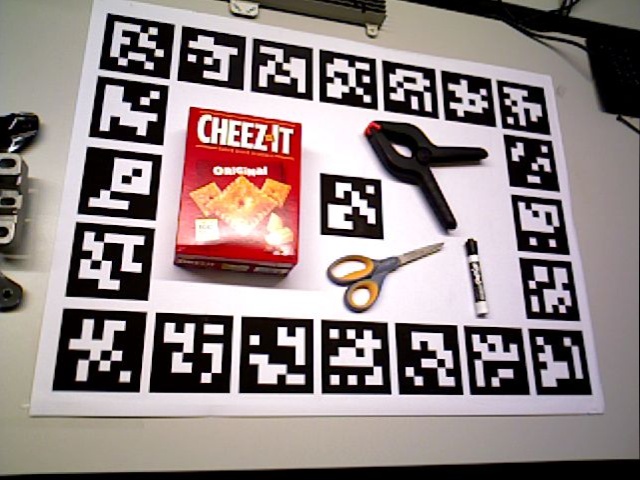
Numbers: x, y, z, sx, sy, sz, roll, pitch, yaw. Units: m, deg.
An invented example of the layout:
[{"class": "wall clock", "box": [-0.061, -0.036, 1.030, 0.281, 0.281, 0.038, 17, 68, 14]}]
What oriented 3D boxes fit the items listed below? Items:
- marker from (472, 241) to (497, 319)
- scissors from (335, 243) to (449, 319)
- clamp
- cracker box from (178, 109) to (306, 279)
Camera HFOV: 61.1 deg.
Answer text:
[{"class": "marker", "box": [0.251, 0.059, 0.828, 0.019, 0.020, 0.120, 1, 71, -15]}, {"class": "scissors", "box": [0.113, 0.042, 0.799, 0.199, 0.016, 0.087, -24, 78, -23]}, {"class": "clamp", "box": [0.159, -0.129, 0.874, 0.202, 0.037, 0.162, 33, 66, -3]}, {"class": "cracker box", "box": [-0.104, -0.063, 0.750, 0.162, 0.073, 0.212, 6, 70, -13]}]
